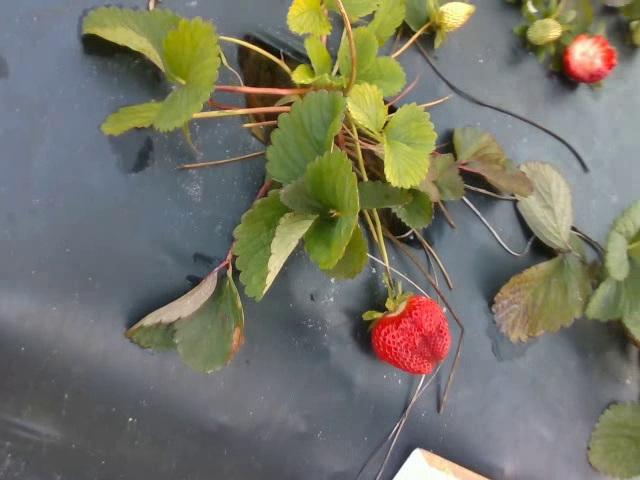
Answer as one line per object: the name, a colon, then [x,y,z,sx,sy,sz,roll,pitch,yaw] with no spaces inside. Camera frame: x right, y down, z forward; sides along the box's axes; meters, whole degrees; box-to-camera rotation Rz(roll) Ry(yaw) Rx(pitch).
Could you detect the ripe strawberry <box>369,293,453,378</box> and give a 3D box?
ripe strawberry: [0.016,0.018,0.097,0.017,0.015,0.013,-35,-26,6]
